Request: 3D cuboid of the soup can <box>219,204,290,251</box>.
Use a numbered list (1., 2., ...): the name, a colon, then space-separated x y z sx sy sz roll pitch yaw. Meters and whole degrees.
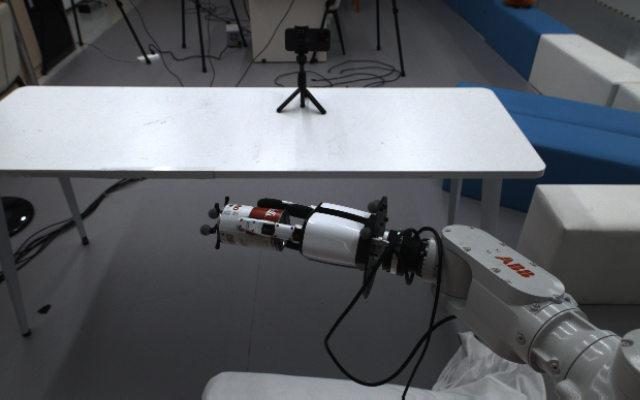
1. soup can: -0.106 0.045 0.783 0.101 0.067 0.067 6 35 12
